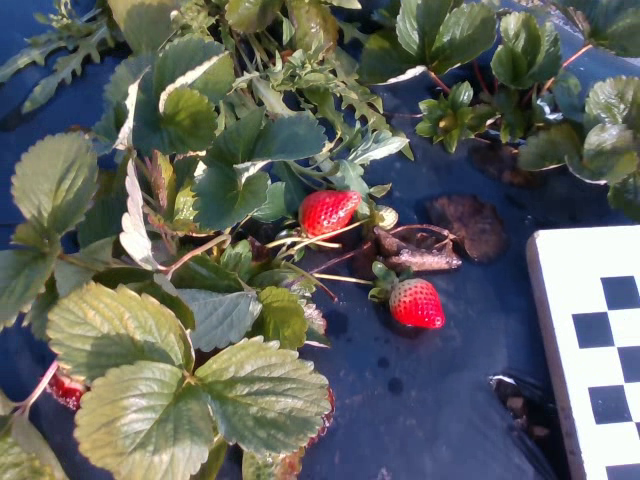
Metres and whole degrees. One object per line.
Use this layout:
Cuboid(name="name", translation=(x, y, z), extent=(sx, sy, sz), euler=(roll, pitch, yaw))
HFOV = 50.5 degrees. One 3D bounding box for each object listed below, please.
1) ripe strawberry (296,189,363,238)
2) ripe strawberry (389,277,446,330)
Cuboid(name="ripe strawberry", translation=(0.007, -0.023, 0.444), extent=(0.048, 0.040, 0.031), euler=(-33, -27, 28))
Cuboid(name="ripe strawberry", translation=(0.064, 0.043, 0.419), extent=(0.035, 0.043, 0.030), euler=(-37, -22, -19))
